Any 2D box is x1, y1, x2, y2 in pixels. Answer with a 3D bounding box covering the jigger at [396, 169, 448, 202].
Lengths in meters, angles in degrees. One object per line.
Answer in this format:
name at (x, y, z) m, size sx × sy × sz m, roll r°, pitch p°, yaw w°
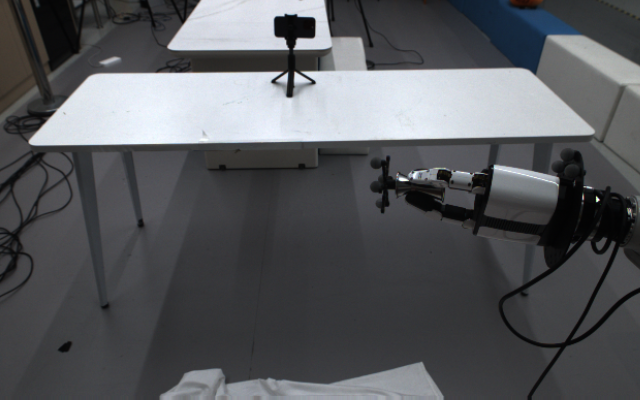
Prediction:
jigger at (0.153, -0.025, 0.703) m, size 0.071 × 0.043 × 0.043 m, roll 3°, pitch 34°, yaw 16°
